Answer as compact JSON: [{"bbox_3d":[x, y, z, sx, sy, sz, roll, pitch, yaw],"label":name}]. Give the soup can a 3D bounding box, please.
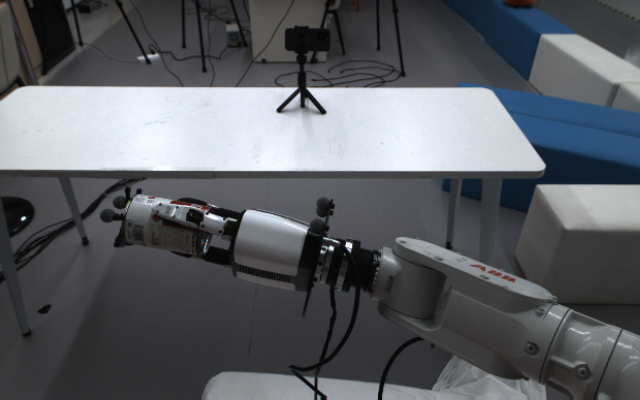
[{"bbox_3d":[-0.194,0.035,0.634,0.101,0.067,0.067,10,35,-1],"label":"soup can"}]
